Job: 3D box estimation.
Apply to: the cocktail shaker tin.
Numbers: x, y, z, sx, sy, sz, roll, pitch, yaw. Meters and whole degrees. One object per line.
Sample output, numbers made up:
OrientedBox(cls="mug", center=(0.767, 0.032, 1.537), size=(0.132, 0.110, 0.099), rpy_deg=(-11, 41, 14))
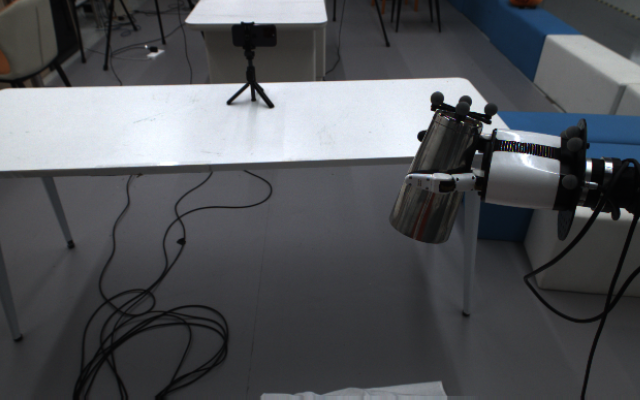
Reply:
OrientedBox(cls="cocktail shaker tin", center=(0.168, -0.038, 0.679), size=(0.093, 0.170, 0.093), rpy_deg=(12, 24, -5))
